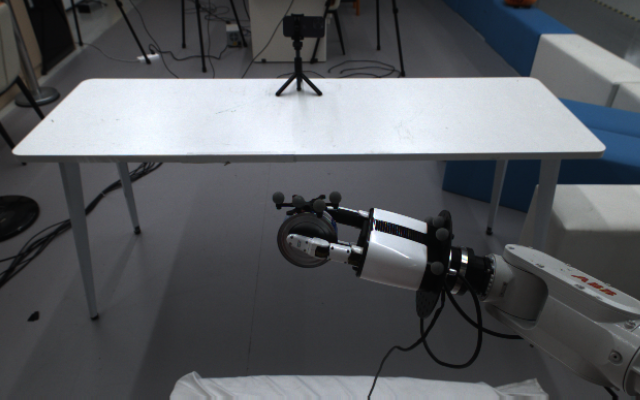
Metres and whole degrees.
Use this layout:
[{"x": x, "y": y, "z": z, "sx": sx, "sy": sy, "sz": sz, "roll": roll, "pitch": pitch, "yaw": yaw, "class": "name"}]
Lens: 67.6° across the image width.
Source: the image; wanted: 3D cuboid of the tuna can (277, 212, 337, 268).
[{"x": -0.014, "y": 0.057, "z": 0.690, "sx": 0.085, "sy": 0.085, "sz": 0.034, "roll": 4, "pitch": 18, "yaw": 3, "class": "tuna can"}]
